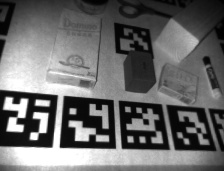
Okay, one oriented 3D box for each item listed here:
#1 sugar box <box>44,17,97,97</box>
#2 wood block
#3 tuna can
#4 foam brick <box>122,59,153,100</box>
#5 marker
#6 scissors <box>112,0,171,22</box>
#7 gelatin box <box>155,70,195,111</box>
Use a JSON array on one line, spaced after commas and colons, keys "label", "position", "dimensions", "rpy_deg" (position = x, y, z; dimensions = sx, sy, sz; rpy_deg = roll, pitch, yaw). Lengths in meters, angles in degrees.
[{"label": "sugar box", "position": [-0.086, -0.065, 0.472], "dimensions": [0.093, 0.045, 0.176], "rpy_deg": [10, 62, -14]}, {"label": "wood block", "position": [0.221, -0.151, 0.591], "dimensions": [0.089, 0.091, 0.207], "rpy_deg": [43, 59, 8]}, {"label": "tuna can", "position": [-0.067, -0.214, 0.555], "dimensions": [0.086, 0.033, 0.085], "rpy_deg": [8, 63, -14]}, {"label": "foam brick", "position": [0.055, -0.012, 0.481], "dimensions": [0.053, 0.051, 0.078], "rpy_deg": [6, 63, -14]}, {"label": "marker", "position": [0.255, -0.014, 0.568], "dimensions": [0.020, 0.019, 0.120], "rpy_deg": [6, 65, -14]}, {"label": "scissors", "position": [0.097, -0.202, 0.616], "dimensions": [0.204, 0.016, 0.087], "rpy_deg": [11, 62, -10]}, {"label": "gelatin box", "position": [0.152, 0.011, 0.518], "dimensions": [0.089, 0.030, 0.073], "rpy_deg": [22, 60, -6]}]
